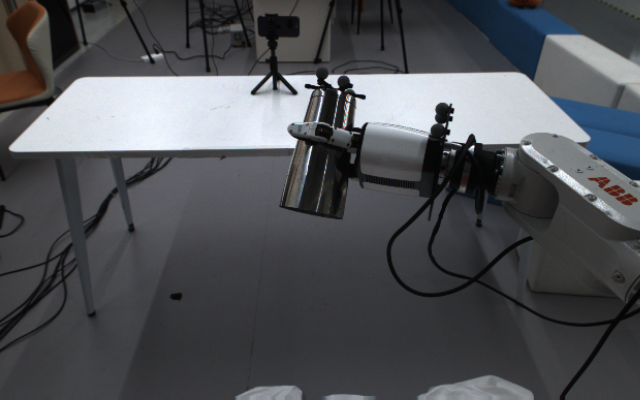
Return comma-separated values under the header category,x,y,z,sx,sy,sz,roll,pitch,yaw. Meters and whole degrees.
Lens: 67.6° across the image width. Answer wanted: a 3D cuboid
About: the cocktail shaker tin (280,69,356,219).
category,x,y,z,sx,sy,sz,roll,pitch,yaw
cocktail shaker tin,0.004,-0.065,0.684,0.093,0.170,0.093,11,-5,1
